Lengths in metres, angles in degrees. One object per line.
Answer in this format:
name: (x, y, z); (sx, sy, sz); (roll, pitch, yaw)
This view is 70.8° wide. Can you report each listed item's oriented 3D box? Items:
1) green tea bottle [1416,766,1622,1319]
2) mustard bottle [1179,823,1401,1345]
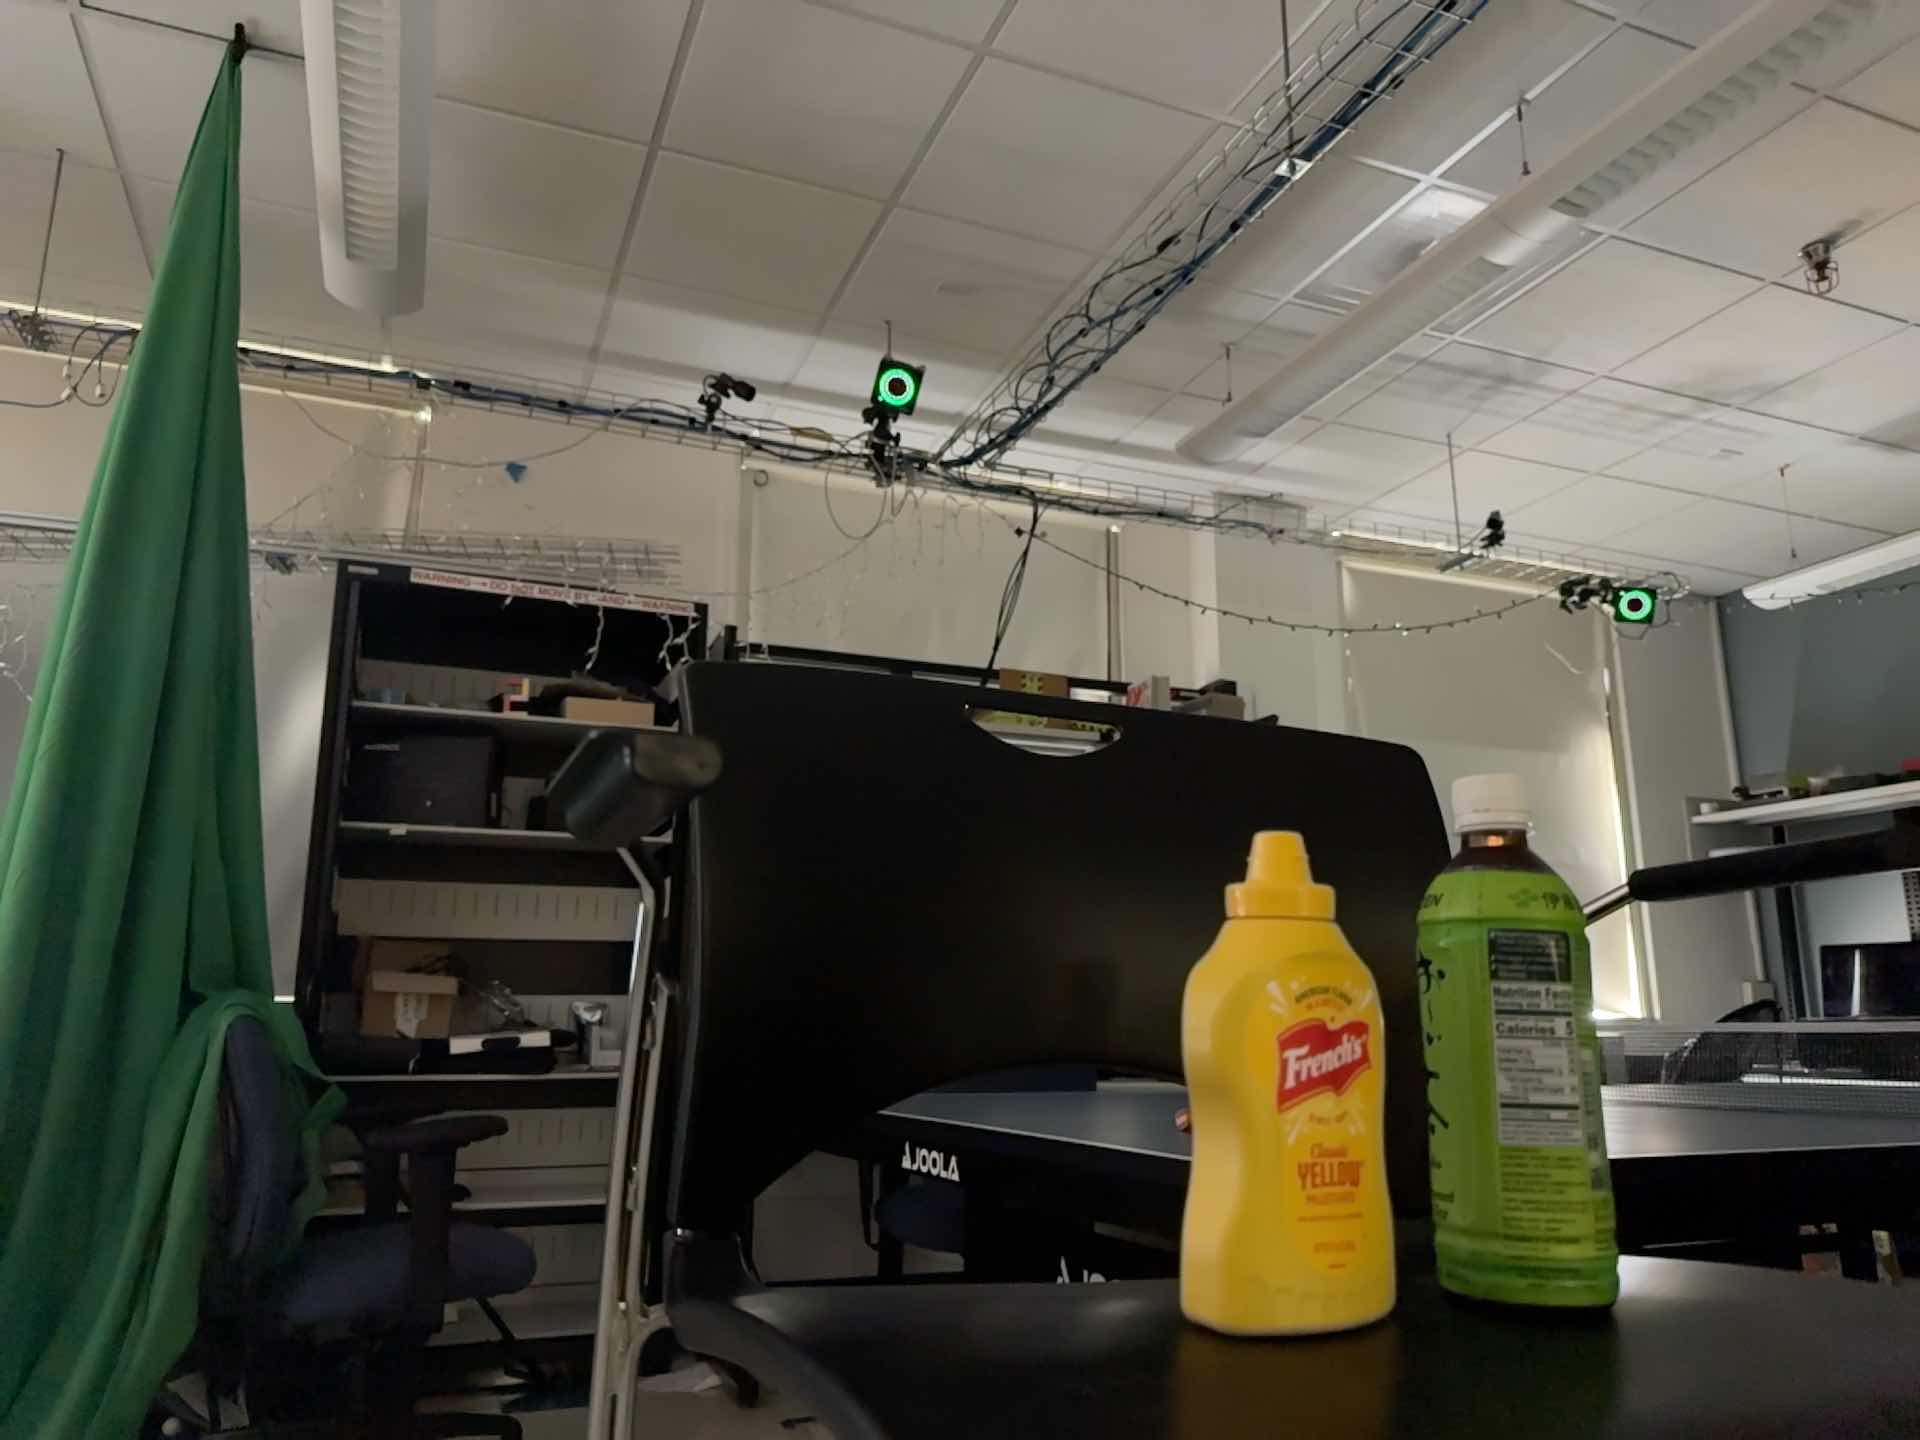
green tea bottle: (0.225, 0.125, 0.550); (0.073, 0.212, 0.073); (2, -10, 0)
mustard bottle: (0.122, 0.131, 0.510); (0.092, 0.184, 0.054); (6, -11, -26)
